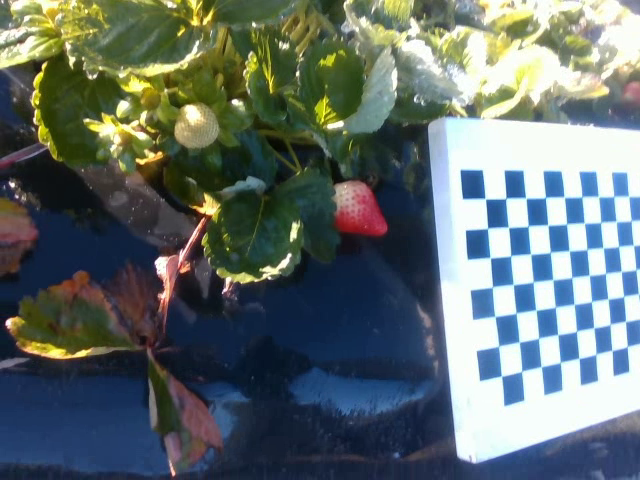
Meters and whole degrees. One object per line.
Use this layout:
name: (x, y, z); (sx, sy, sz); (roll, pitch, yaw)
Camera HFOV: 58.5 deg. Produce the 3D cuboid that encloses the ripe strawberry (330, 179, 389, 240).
ripe strawberry: (0.034, -0.019, 0.457); (0.065, 0.040, 0.040); (41, -24, -20)
